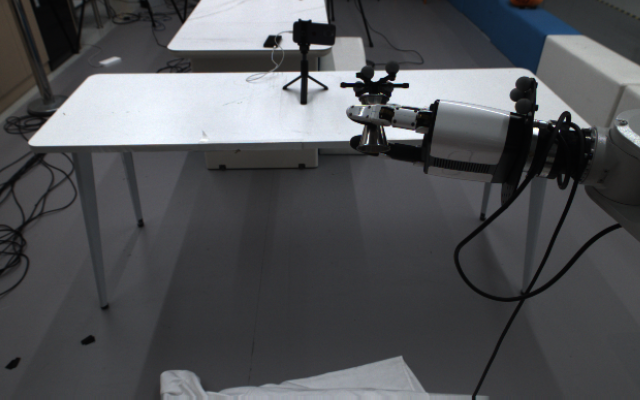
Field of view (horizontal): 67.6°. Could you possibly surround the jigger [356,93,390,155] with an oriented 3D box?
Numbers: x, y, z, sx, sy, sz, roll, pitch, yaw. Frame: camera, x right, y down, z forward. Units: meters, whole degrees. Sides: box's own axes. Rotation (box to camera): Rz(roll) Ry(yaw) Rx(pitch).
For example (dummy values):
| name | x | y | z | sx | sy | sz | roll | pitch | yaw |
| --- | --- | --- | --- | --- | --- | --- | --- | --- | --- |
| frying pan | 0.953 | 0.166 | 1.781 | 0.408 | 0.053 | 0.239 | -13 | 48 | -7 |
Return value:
| name | x | y | z | sx | sy | sz | roll | pitch | yaw |
| --- | --- | --- | --- | --- | --- | --- | --- | --- | --- |
| jigger | 0.068 | -0.100 | 0.630 | 0.043 | 0.071 | 0.043 | 2 | -6 | 0 |
